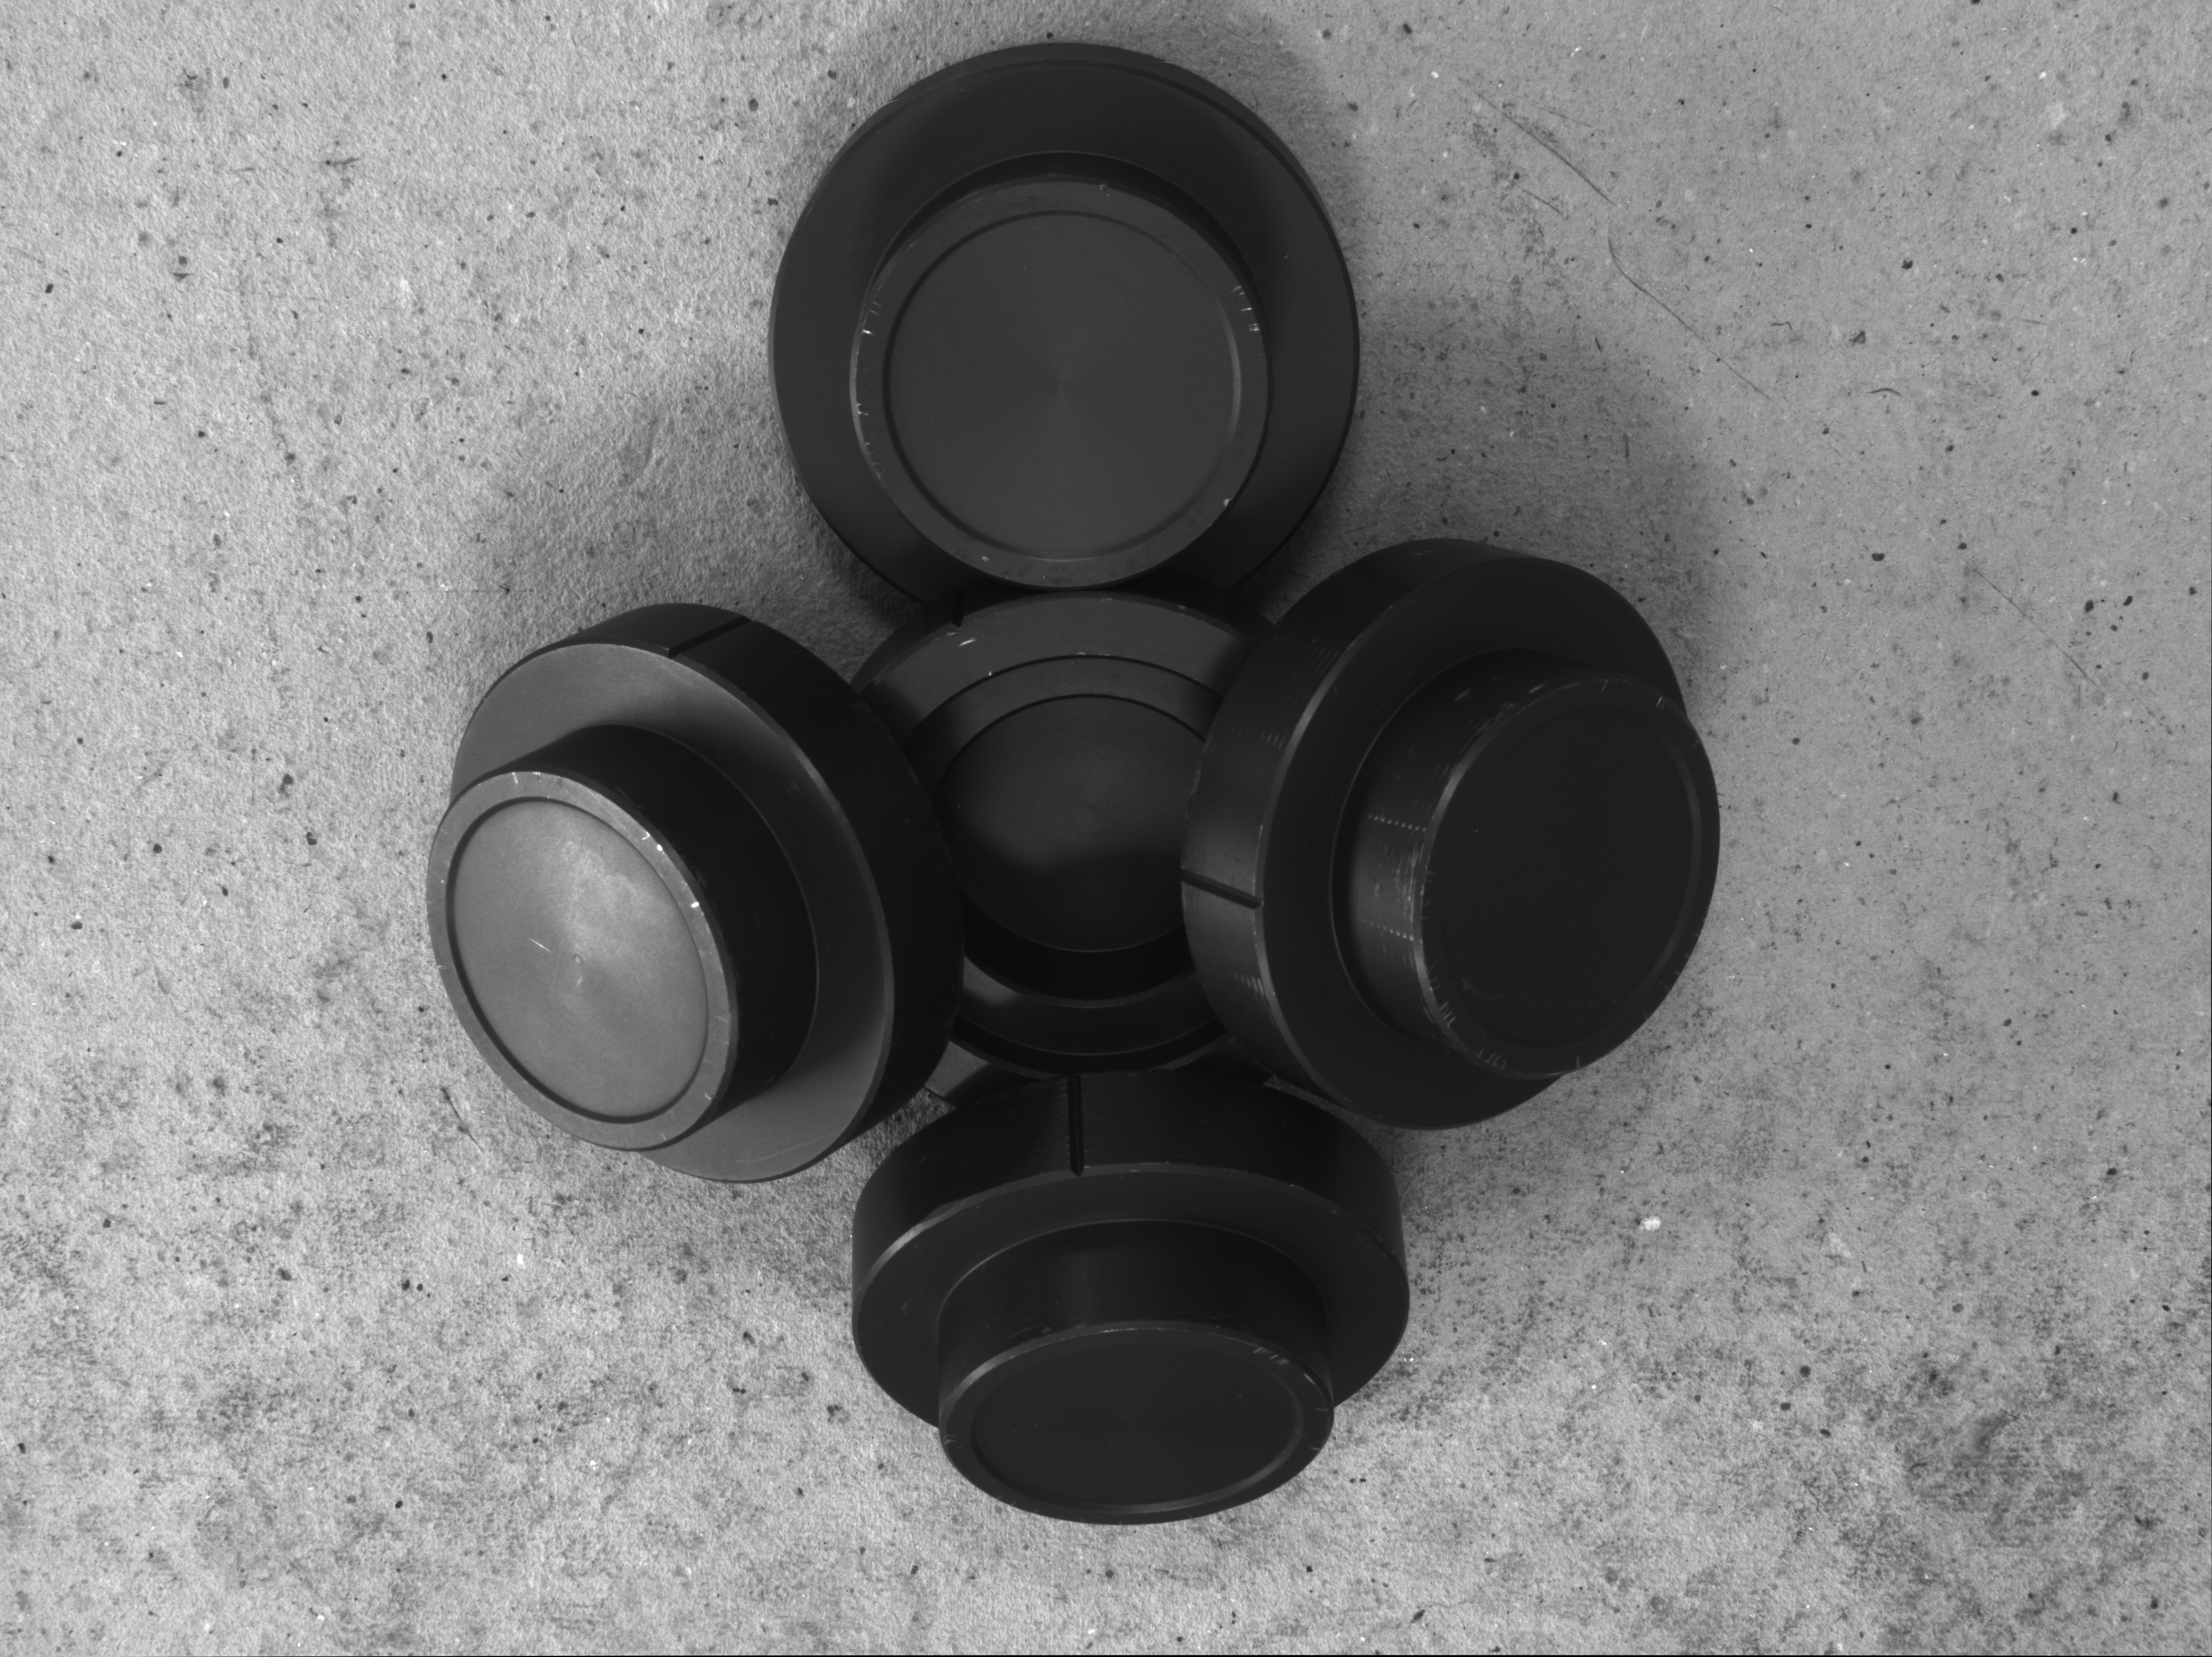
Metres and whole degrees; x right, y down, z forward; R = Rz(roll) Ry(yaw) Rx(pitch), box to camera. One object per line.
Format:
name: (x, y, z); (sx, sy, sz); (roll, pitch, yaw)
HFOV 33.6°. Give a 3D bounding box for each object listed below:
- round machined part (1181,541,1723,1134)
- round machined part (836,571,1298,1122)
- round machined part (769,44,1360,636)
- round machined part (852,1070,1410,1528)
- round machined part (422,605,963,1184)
round machined part: (0.064, 0.004, 0.609); (0.098, 0.042, 0.098); (-11, 109, -34)
round machined part: (-0.002, 0.000, 0.635); (0.098, 0.042, 0.098); (1, 109, 2)
round machined part: (-0.007, -0.078, 0.606); (0.098, 0.042, 0.098); (0, 108, 0)
round machined part: (0.005, 0.088, 0.644); (0.098, 0.042, 0.098); (-2, 140, -1)
round machined part: (-0.075, 0.015, 0.614); (0.098, 0.042, 0.098); (15, 119, 30)
